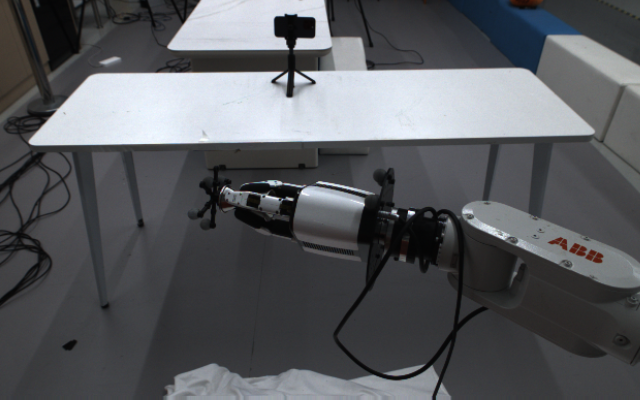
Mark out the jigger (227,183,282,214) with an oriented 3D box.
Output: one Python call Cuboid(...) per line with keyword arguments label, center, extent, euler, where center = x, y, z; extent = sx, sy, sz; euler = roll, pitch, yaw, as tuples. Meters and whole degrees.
Cuboid(label="jigger", center=(-0.093, -0.001, 0.661), extent=(0.071, 0.043, 0.043), euler=(8, 35, 15))
